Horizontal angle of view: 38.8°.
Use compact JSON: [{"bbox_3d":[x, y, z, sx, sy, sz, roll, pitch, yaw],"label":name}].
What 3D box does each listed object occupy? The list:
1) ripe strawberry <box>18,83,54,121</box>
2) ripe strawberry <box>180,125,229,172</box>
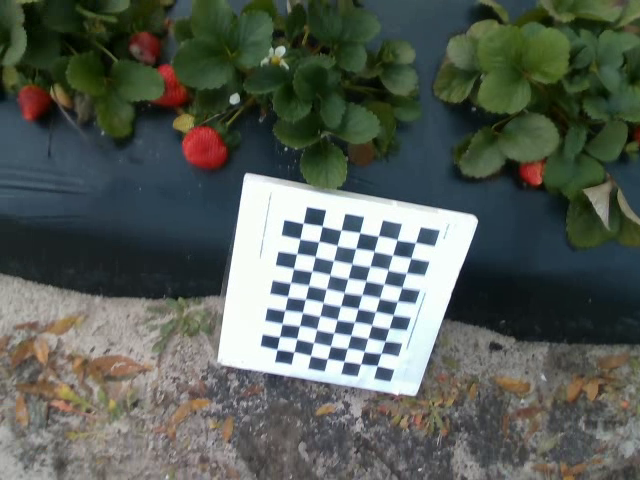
[{"bbox_3d":[-0.333,-0.157,1.041,0.043,0.052,0.041,-3,-11,11],"label":"ripe strawberry"},{"bbox_3d":[-0.141,-0.102,1.052,0.057,0.056,0.065,-13,36,33],"label":"ripe strawberry"}]
